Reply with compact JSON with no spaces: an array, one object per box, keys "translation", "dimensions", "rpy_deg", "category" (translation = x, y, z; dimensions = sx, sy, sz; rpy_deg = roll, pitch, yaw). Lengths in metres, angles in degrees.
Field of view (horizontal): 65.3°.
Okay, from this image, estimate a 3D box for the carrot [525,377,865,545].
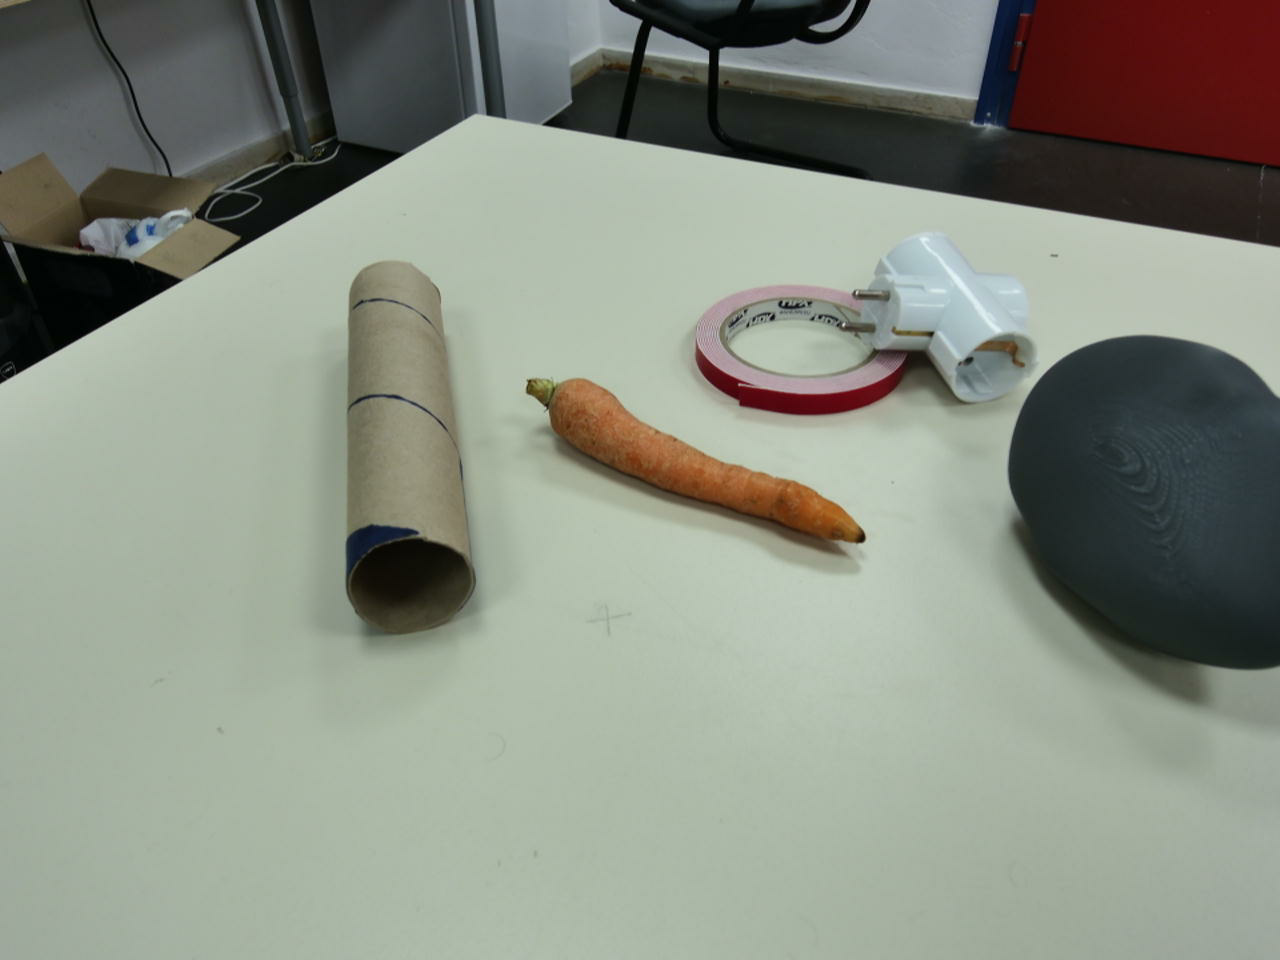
[{"translation":[0.019,-0.010,0.440],"dimensions":[0.173,0.032,0.030],"rpy_deg":[24,43,28],"category":"carrot"}]
